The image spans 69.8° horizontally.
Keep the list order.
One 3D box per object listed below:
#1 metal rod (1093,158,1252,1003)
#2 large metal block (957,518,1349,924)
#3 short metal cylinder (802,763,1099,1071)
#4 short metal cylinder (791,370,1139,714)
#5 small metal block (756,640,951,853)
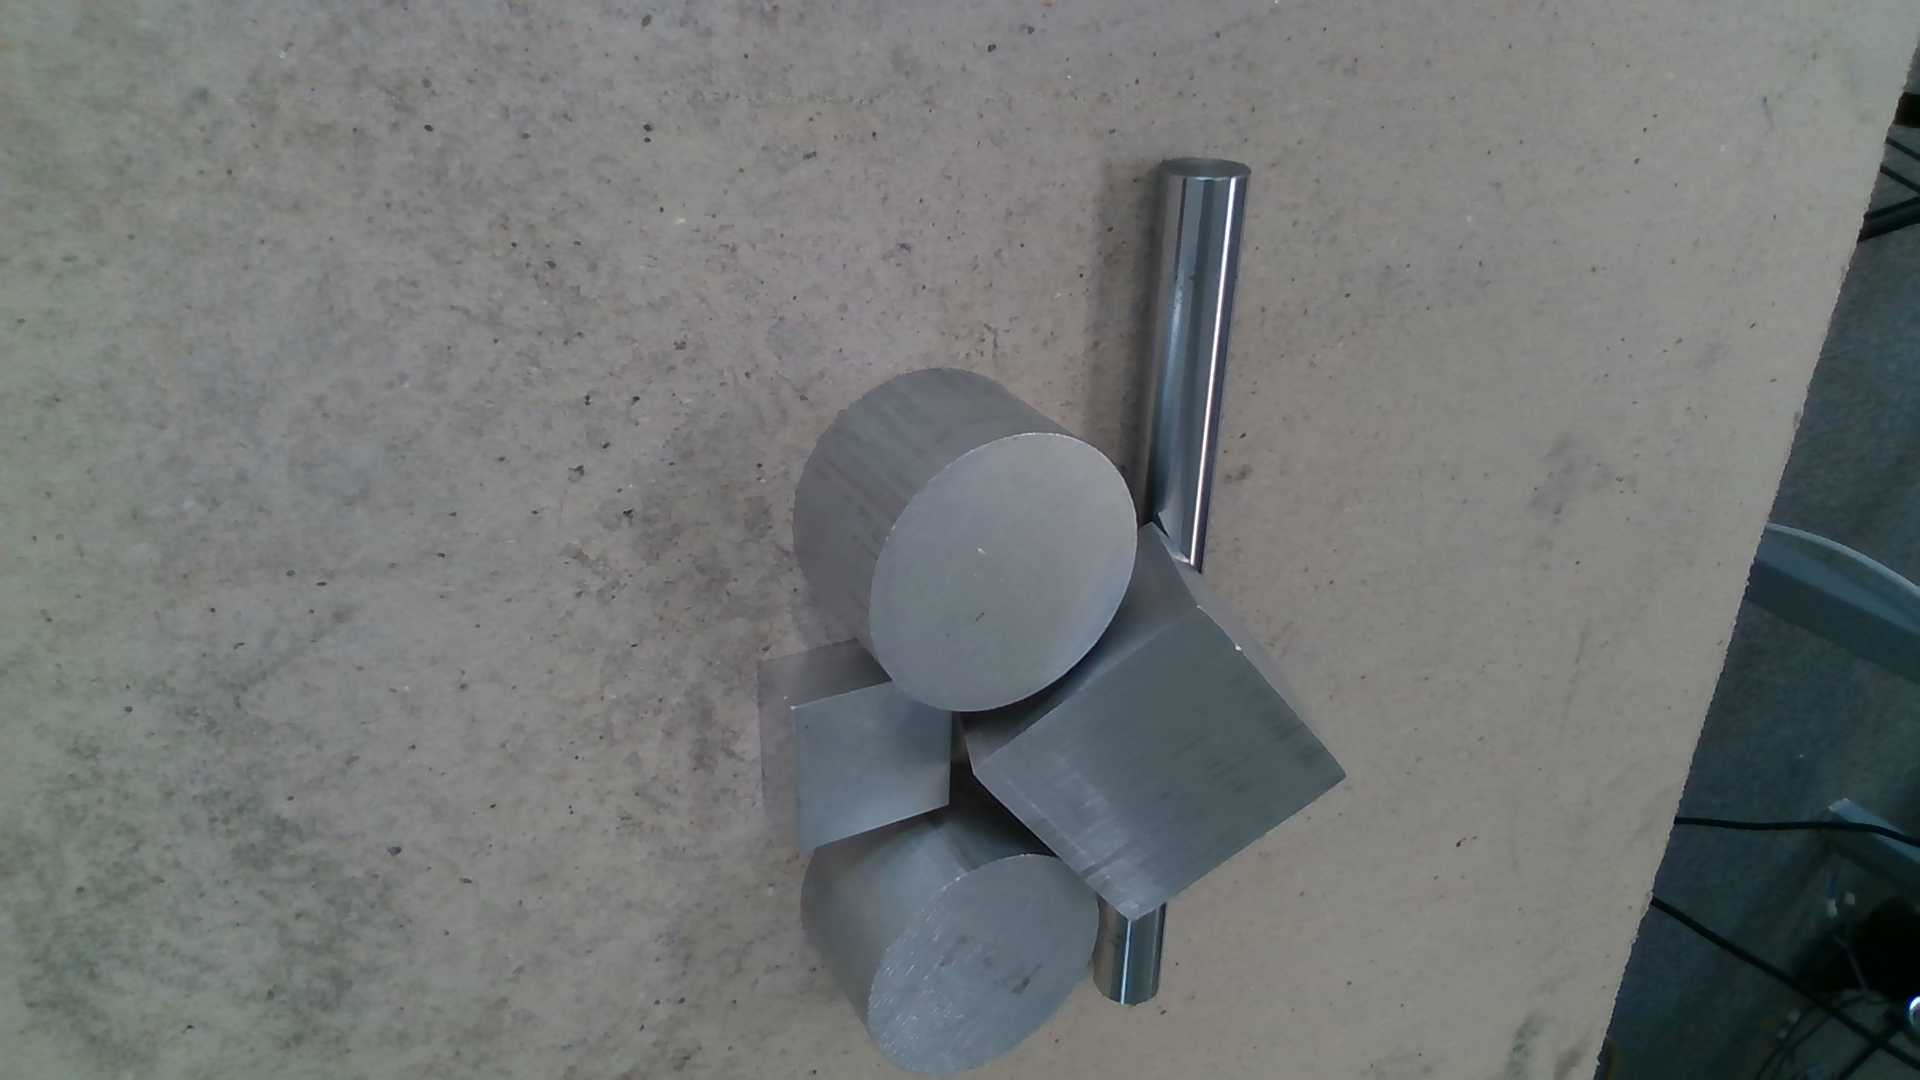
[{"bbox_3d":[0.065,0.031,0.446,0.025,0.025,0.301,-14,121,-25],"label":"metal rod"},{"bbox_3d":[0.055,0.055,0.415,0.080,0.050,0.080,-38,117,12],"label":"large metal block"},{"bbox_3d":[-0.003,0.118,0.436,0.080,0.050,0.080,-14,122,-25],"label":"short metal cylinder"},{"bbox_3d":[0.001,0.000,0.373,0.080,0.050,0.080,-14,122,-25],"label":"short metal cylinder"},{"bbox_3d":[-0.031,0.057,0.403,0.050,0.025,0.050,-13,121,-26],"label":"small metal block"}]
